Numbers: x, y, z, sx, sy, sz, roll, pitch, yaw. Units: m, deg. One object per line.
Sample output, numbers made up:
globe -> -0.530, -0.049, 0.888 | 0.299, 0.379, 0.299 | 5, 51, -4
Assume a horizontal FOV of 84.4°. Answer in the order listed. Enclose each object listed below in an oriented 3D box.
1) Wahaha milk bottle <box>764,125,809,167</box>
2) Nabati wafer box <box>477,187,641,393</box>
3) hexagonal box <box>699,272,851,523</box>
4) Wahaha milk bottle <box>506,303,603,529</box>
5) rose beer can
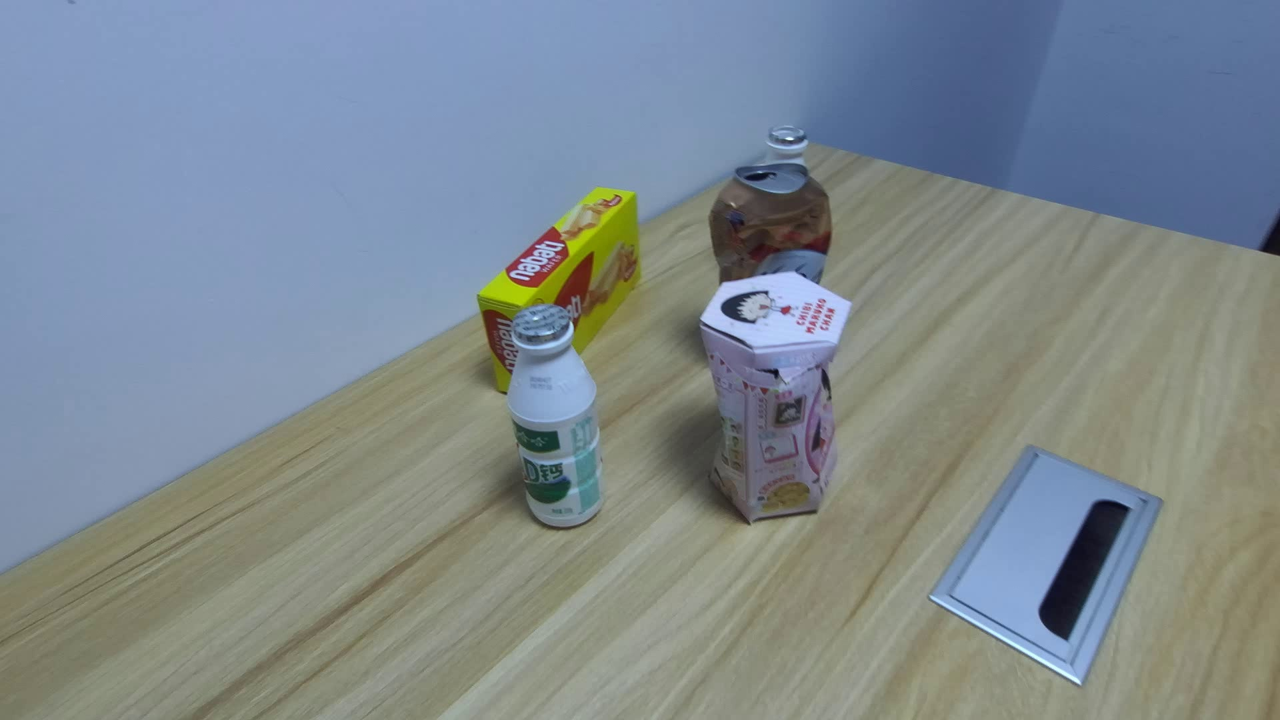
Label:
Wahaha milk bottle -> 0.125, -0.142, 0.634 | 0.056, 0.148, 0.056 | -1, 51, 1
Nabati wafer box -> -0.057, -0.063, 0.600 | 0.042, 0.093, 0.203 | 13, 40, 21
hexagonal box -> 0.080, 0.025, 0.439 | 0.091, 0.135, 0.089 | -19, 37, -18
Wahaha milk bottle -> -0.051, 0.036, 0.424 | 0.053, 0.147, 0.053 | -3, 37, 2
rose beer can -> 0.095, -0.064, 0.529 | 0.067, 0.162, 0.074 | 25, 43, 32
